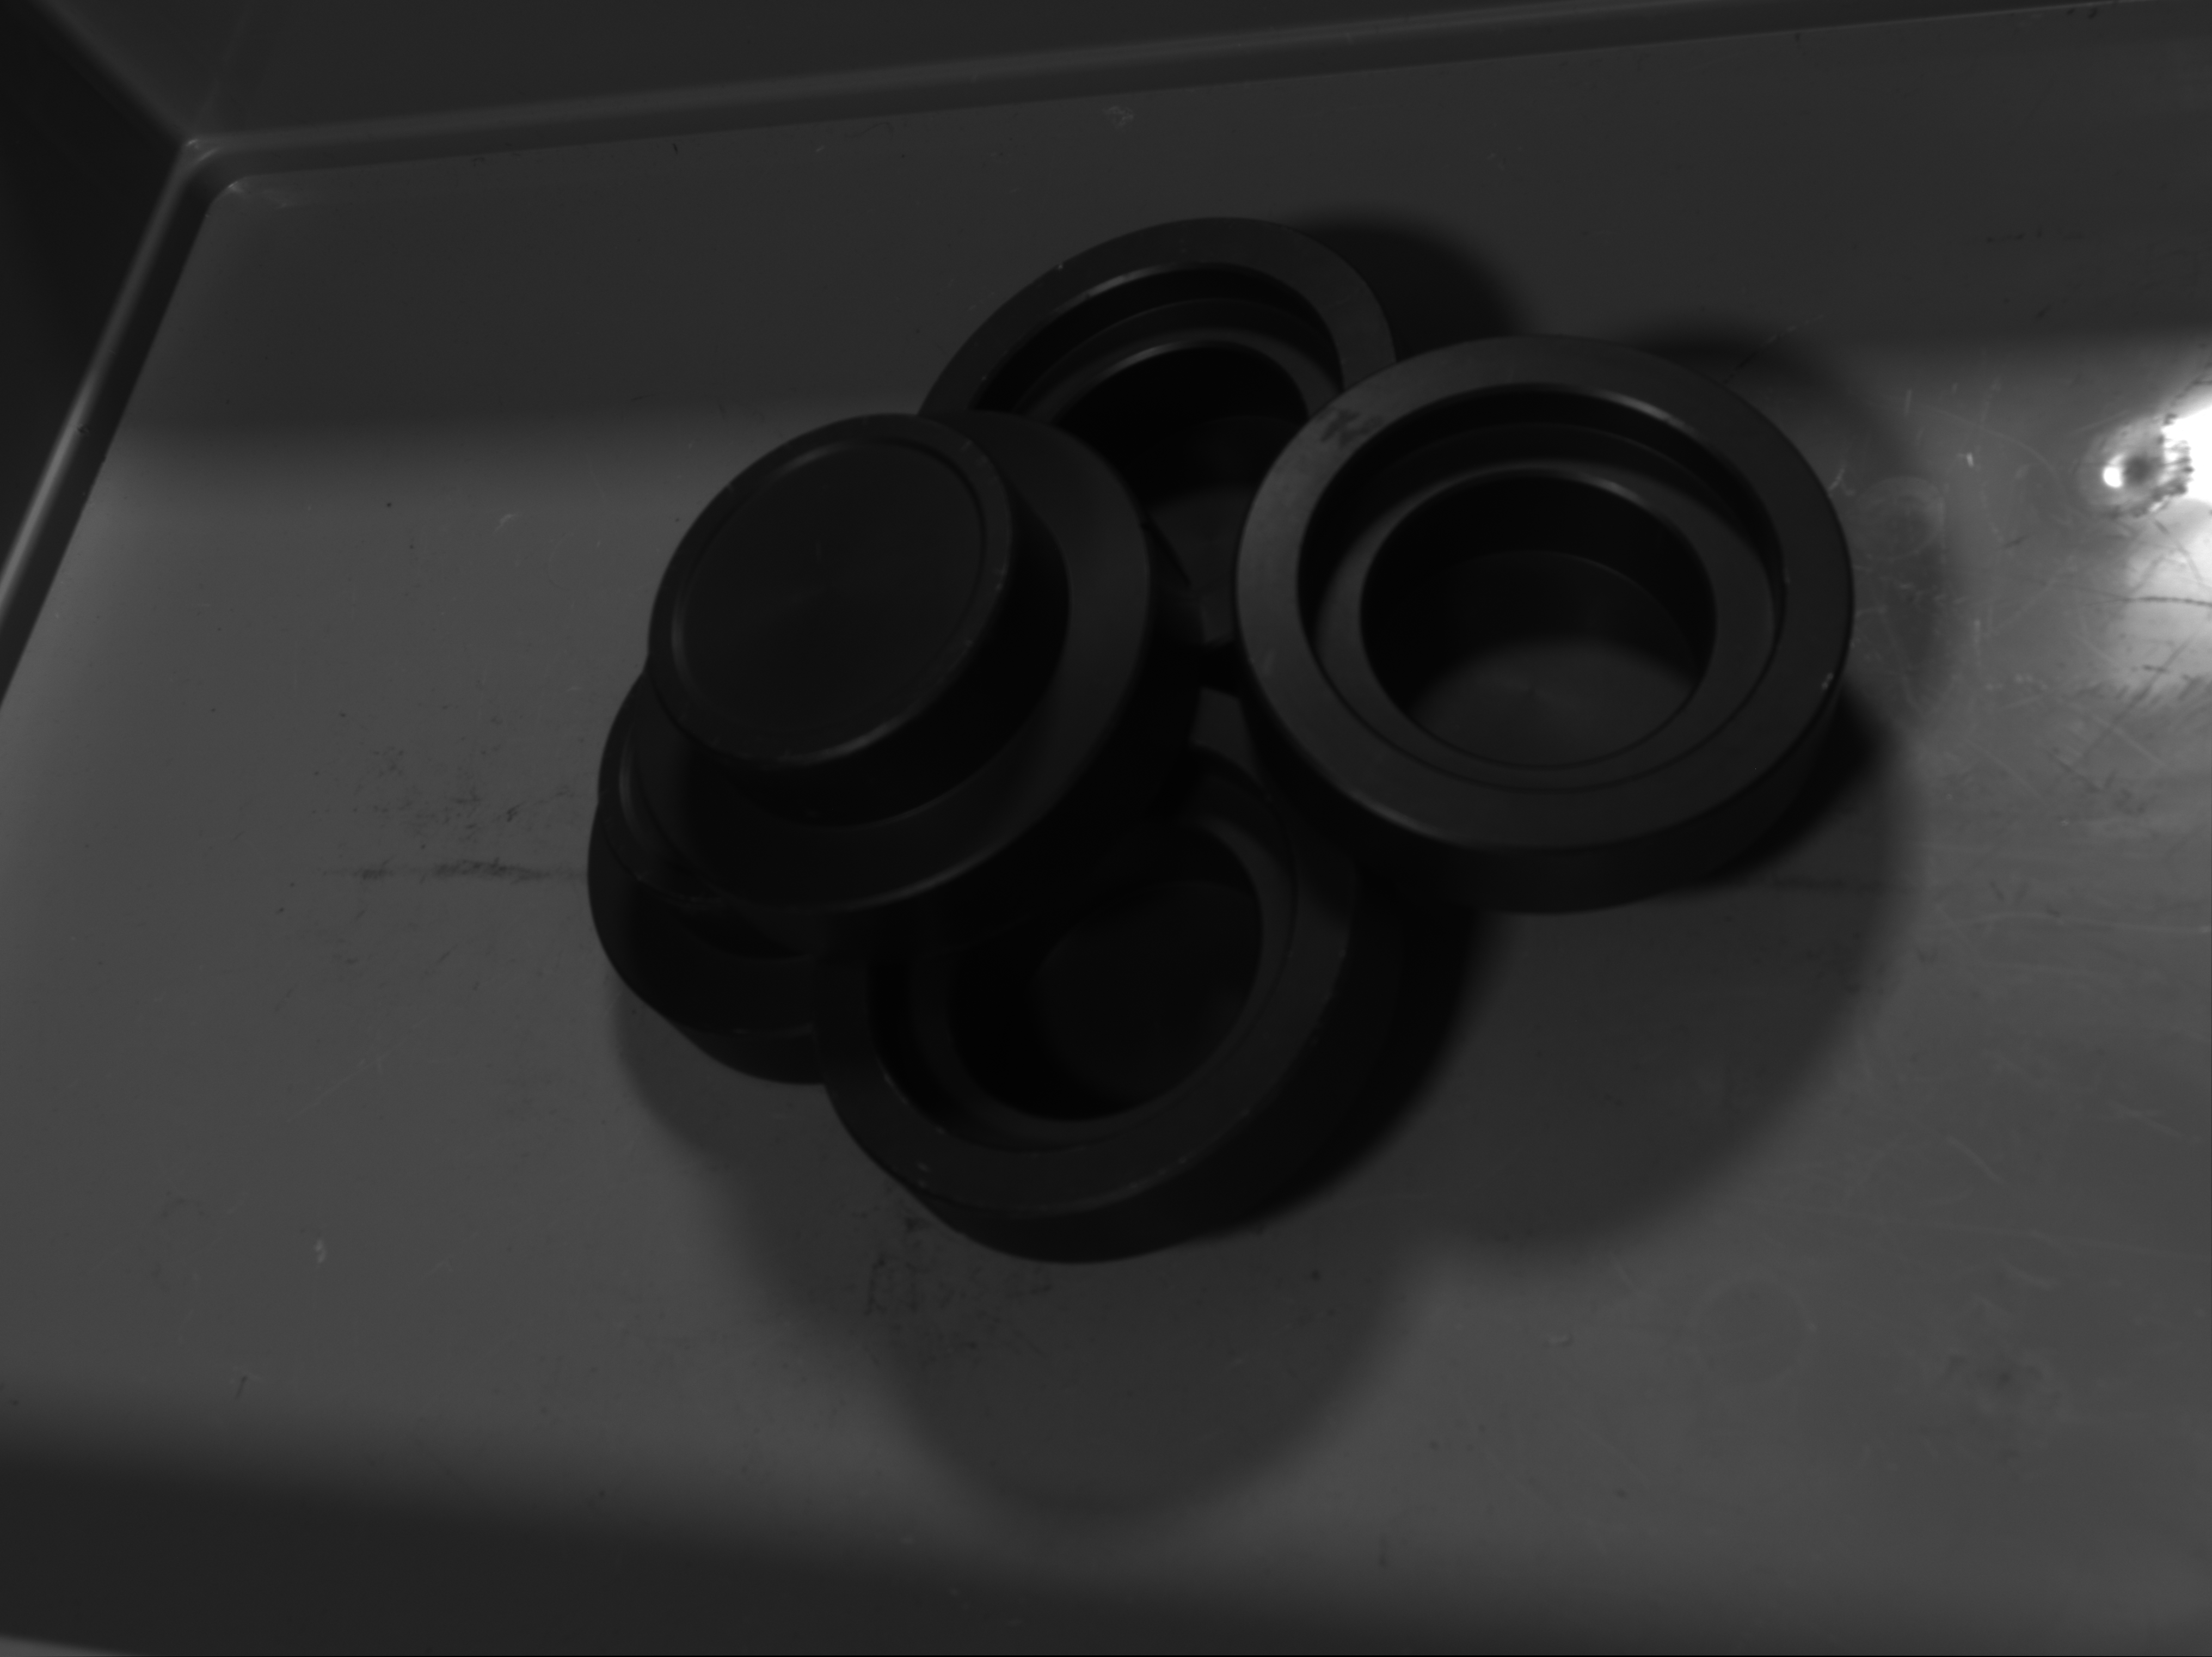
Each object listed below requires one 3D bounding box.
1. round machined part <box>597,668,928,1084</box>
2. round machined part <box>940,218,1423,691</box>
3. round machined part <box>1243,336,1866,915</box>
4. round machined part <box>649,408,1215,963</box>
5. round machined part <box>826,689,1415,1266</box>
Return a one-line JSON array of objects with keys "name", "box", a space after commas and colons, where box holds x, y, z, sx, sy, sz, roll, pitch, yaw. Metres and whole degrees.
[{"name": "round machined part", "box": [-0.050, -0.007, 0.661, 0.098, 0.042, 0.098, -13, 56, 21]}, {"name": "round machined part", "box": [0.017, -0.058, 0.659, 0.098, 0.042, 0.098, -13, 56, 21]}, {"name": "round machined part", "box": [0.072, -0.029, 0.597, 0.098, 0.042, 0.098, -2, 61, 4]}, {"name": "round machined part", "box": [-0.035, -0.030, 0.613, 0.098, 0.042, 0.098, -13, 56, 21]}, {"name": "round machined part", "box": [0.006, 0.028, 0.611, 0.098, 0.042, 0.098, -13, 56, 21]}]
